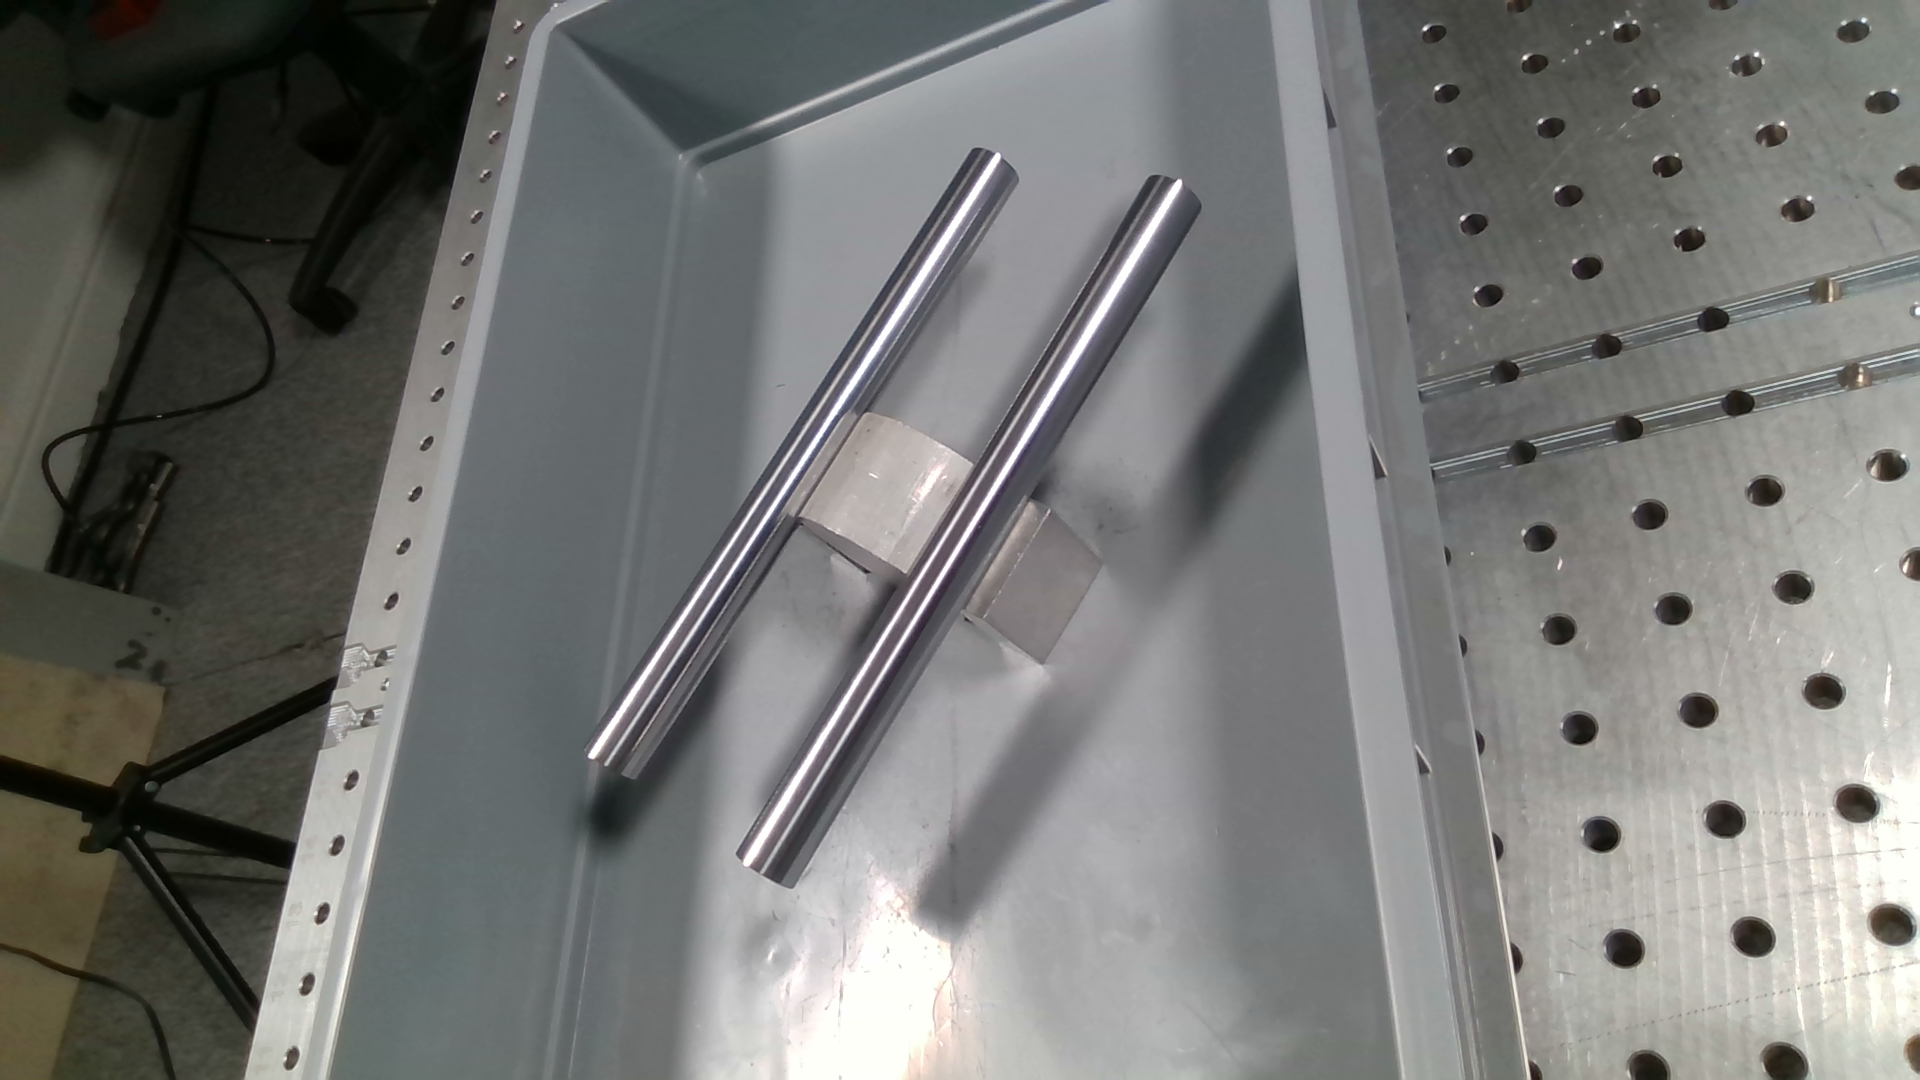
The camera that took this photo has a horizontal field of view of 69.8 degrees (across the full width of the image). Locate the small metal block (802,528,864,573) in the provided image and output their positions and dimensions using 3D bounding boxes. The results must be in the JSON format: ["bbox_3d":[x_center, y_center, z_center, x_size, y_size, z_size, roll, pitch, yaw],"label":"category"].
[{"bbox_3d":[-0.051,-0.021,0.610,0.025,0.050,0.050,26,81,38],"label":"small metal block"}]

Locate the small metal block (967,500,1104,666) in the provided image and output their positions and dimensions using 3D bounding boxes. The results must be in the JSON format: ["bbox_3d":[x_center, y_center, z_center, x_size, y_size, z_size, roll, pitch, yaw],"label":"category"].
[{"bbox_3d":[0.025,0.015,0.544,0.025,0.050,0.050,26,81,38],"label":"small metal block"}]

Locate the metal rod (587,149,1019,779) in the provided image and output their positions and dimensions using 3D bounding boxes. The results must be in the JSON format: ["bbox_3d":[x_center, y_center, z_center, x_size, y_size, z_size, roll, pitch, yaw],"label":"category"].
[{"bbox_3d":[-0.063,-0.036,0.579,0.025,0.025,0.300,26,80,38],"label":"metal rod"}]

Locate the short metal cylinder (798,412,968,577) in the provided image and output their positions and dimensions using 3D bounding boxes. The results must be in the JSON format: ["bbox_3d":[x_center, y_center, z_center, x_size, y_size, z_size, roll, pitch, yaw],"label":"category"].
[{"bbox_3d":[-0.020,-0.009,0.566,0.080,0.080,0.050,26,80,38],"label":"short metal cylinder"}]

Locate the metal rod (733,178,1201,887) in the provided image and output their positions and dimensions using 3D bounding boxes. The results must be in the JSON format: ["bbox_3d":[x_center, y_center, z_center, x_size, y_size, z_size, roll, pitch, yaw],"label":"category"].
[{"bbox_3d":[0.006,-0.007,0.520,0.025,0.025,0.300,26,81,38],"label":"metal rod"}]
